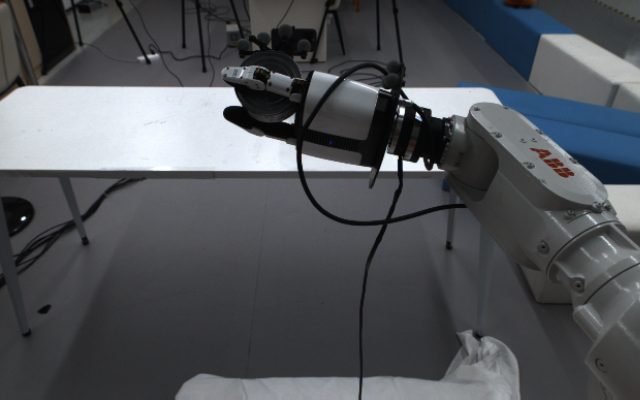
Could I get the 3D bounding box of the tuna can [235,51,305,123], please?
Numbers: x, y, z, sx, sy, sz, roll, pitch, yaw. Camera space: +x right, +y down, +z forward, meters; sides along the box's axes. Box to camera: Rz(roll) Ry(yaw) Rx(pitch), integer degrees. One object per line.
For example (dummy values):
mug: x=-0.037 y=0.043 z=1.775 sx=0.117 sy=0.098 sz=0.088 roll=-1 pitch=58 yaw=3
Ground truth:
tuna can: x=-0.063 y=-0.143 z=0.615 sx=0.085 sy=0.034 sz=0.085 roll=-1 pitch=77 yaw=4
